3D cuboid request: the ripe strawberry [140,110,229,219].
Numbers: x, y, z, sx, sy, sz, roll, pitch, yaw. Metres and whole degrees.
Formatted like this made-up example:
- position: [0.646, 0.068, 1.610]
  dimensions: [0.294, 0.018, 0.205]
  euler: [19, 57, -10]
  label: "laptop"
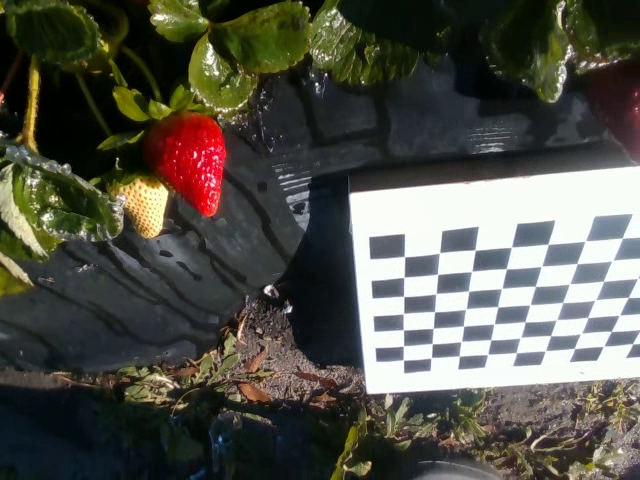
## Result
- position: [-0.065, -0.037, 0.330]
  dimensions: [0.042, 0.061, 0.046]
  euler: [-14, 7, 14]
  label: "ripe strawberry"
